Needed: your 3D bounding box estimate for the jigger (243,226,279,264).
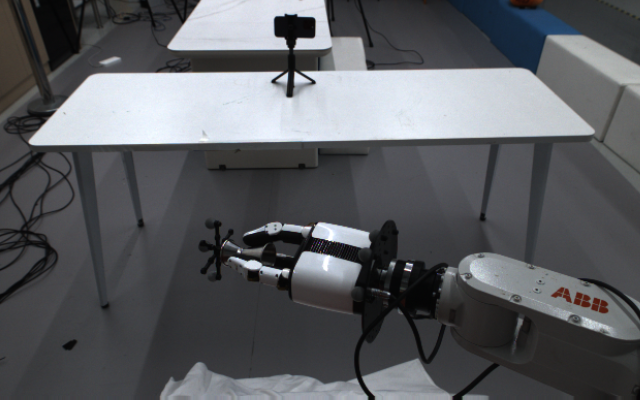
[{"bbox_3d":[-0.096,0.076,0.688,0.071,0.043,0.043,5,33,22],"label":"jigger"}]
